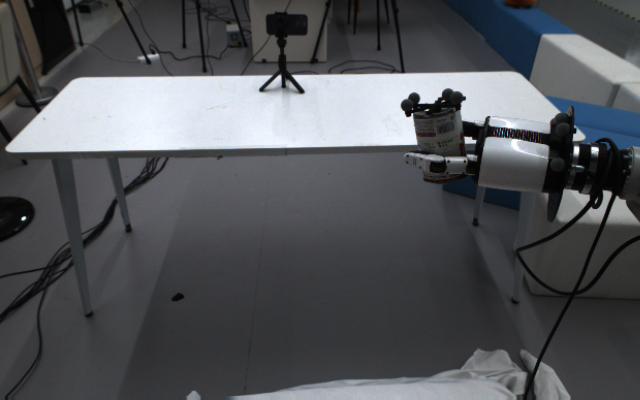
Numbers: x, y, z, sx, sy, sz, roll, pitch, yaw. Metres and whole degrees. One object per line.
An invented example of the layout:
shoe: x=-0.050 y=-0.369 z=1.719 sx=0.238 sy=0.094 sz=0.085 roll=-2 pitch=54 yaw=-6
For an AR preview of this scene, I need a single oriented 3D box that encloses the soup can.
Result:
soup can: x=0.177 y=-0.083 z=0.701 sx=0.067 sy=0.101 sz=0.067 roll=-13 pitch=20 yaw=5
